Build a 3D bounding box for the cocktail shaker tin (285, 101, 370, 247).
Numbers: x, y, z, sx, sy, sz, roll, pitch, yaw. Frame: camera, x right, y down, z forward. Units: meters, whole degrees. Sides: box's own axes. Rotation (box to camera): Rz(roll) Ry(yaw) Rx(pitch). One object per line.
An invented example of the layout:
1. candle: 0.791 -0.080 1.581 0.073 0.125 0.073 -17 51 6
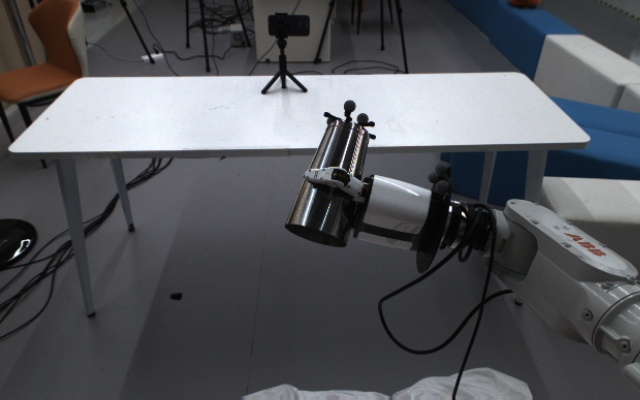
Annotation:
1. cocktail shaker tin: 0.018 -0.026 0.705 0.093 0.093 0.170 14 74 16
